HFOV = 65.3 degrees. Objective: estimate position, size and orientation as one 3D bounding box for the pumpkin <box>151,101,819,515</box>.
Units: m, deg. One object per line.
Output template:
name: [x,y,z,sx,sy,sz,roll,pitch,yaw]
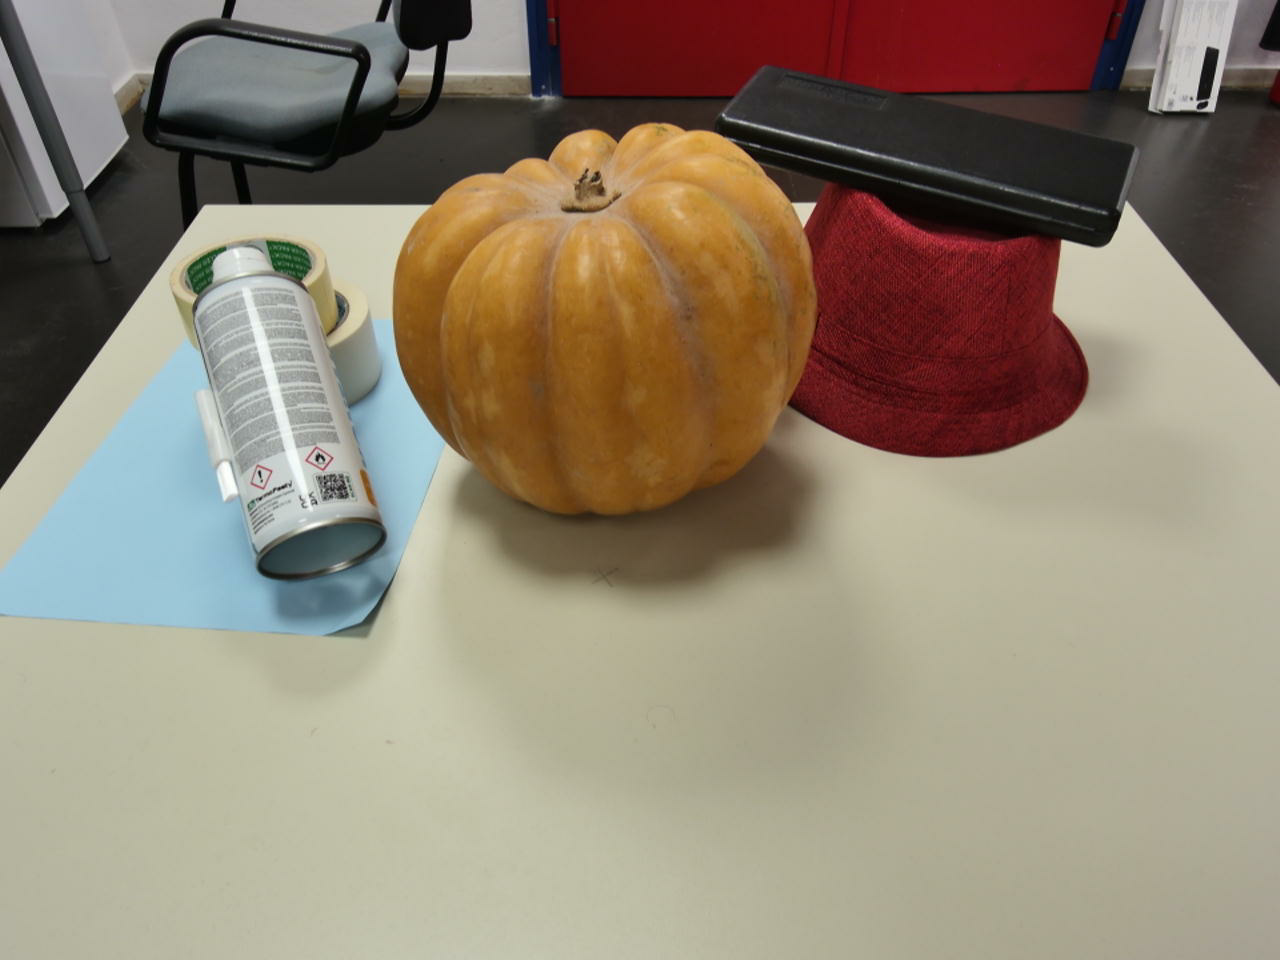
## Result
pumpkin: [-0.015,-0.086,0.551,0.230,0.194,0.230,0,40,0]
